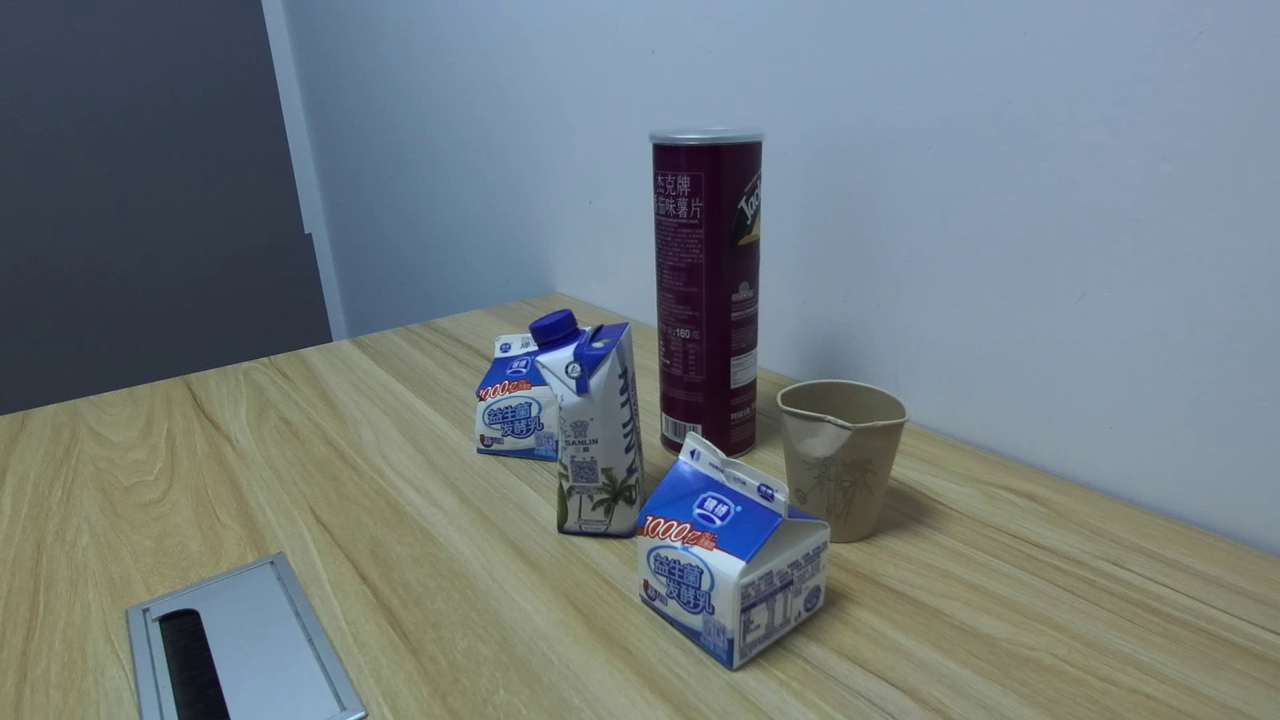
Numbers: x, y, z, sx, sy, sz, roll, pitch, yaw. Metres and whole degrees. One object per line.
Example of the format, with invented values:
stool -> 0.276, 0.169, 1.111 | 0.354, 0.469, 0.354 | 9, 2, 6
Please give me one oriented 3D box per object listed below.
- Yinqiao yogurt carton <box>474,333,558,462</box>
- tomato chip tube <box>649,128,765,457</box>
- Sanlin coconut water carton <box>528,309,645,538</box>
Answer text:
Yinqiao yogurt carton -> -0.083, 0.020, 0.561 | 0.083, 0.093, 0.077 | 4, 24, 15
tomato chip tube -> 0.050, -0.044, 0.521 | 0.078, 0.234, 0.078 | -2, 19, 1
Sanlin coconut water carton -> -0.030, 0.037, 0.446 | 0.057, 0.142, 0.078 | -3, 21, 12
